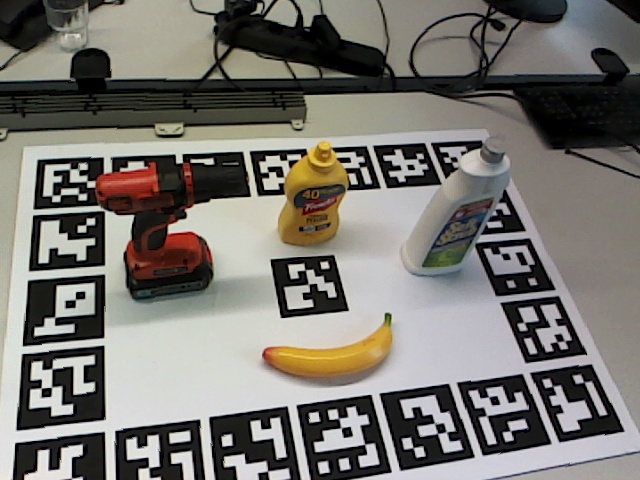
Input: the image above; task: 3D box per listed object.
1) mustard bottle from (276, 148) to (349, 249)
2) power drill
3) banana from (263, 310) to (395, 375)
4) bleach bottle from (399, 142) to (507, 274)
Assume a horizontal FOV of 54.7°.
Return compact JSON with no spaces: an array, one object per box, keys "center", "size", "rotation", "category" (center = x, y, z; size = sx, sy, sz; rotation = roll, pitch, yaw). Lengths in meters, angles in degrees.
[{"center":[-0.007,-0.063,0.915],"size":[0.096,0.191,0.059],"rotation":[-10,57,-19],"category":"mustard bottle"},{"center":[-0.176,-0.029,0.822],"size":[0.184,0.186,0.057],"rotation":[-11,57,-13],"category":"power drill"},{"center":[0.022,0.148,0.846],"size":[0.197,0.039,0.074],"rotation":[-10,58,-13],"category":"banana"},{"center":[0.195,-0.044,0.896],"size":[0.102,0.250,0.068],"rotation":[3,54,-9],"category":"bleach bottle"}]
